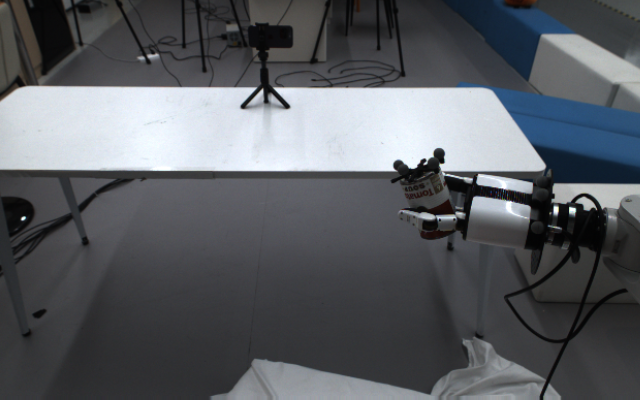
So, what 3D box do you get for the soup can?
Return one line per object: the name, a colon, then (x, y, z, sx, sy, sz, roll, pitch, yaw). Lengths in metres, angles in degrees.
soup can: (0.175, 0.002, 0.763, 0.067, 0.101, 0.067, -23, 16, 7)
